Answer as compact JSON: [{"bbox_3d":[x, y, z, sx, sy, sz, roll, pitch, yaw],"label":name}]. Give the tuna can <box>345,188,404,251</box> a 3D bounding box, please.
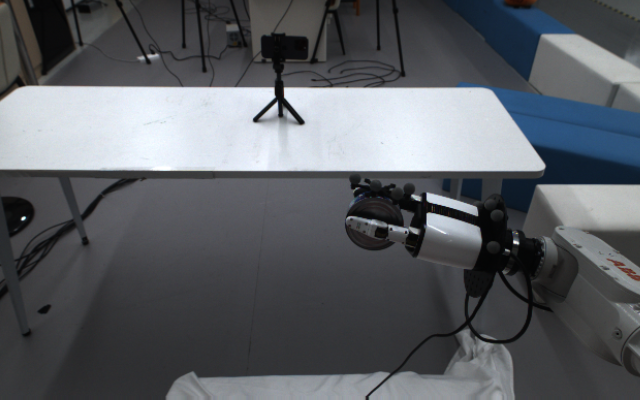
[{"bbox_3d":[0.082,0.029,0.723,0.085,0.085,0.034,5,17,4],"label":"tuna can"}]
